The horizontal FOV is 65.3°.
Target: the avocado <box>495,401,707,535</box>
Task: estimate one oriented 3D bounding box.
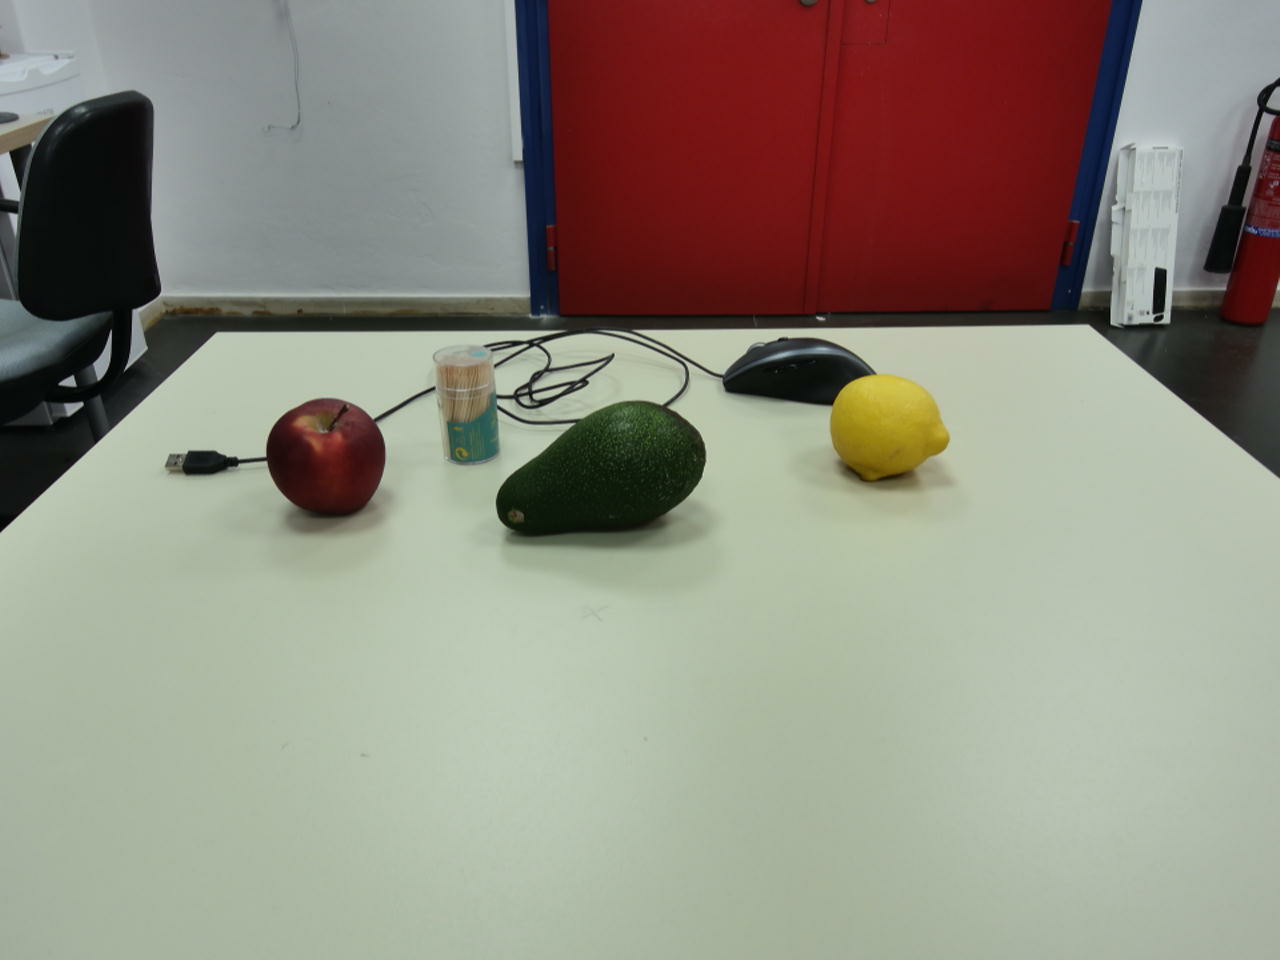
[{"bbox_3d":[-0.021,-0.011,0.595,0.123,0.076,0.074,2,26,5],"label":"avocado"}]
